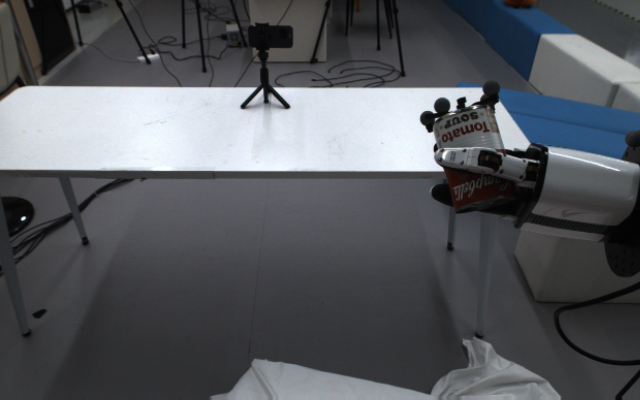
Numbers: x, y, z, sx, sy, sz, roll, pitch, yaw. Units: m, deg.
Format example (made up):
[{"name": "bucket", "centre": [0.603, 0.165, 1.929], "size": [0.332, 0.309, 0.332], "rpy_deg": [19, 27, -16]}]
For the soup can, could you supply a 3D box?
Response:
[{"name": "soup can", "centre": [0.170, -0.046, 0.526], "size": [0.067, 0.067, 0.101], "rpy_deg": [-12, 80, -19]}]
